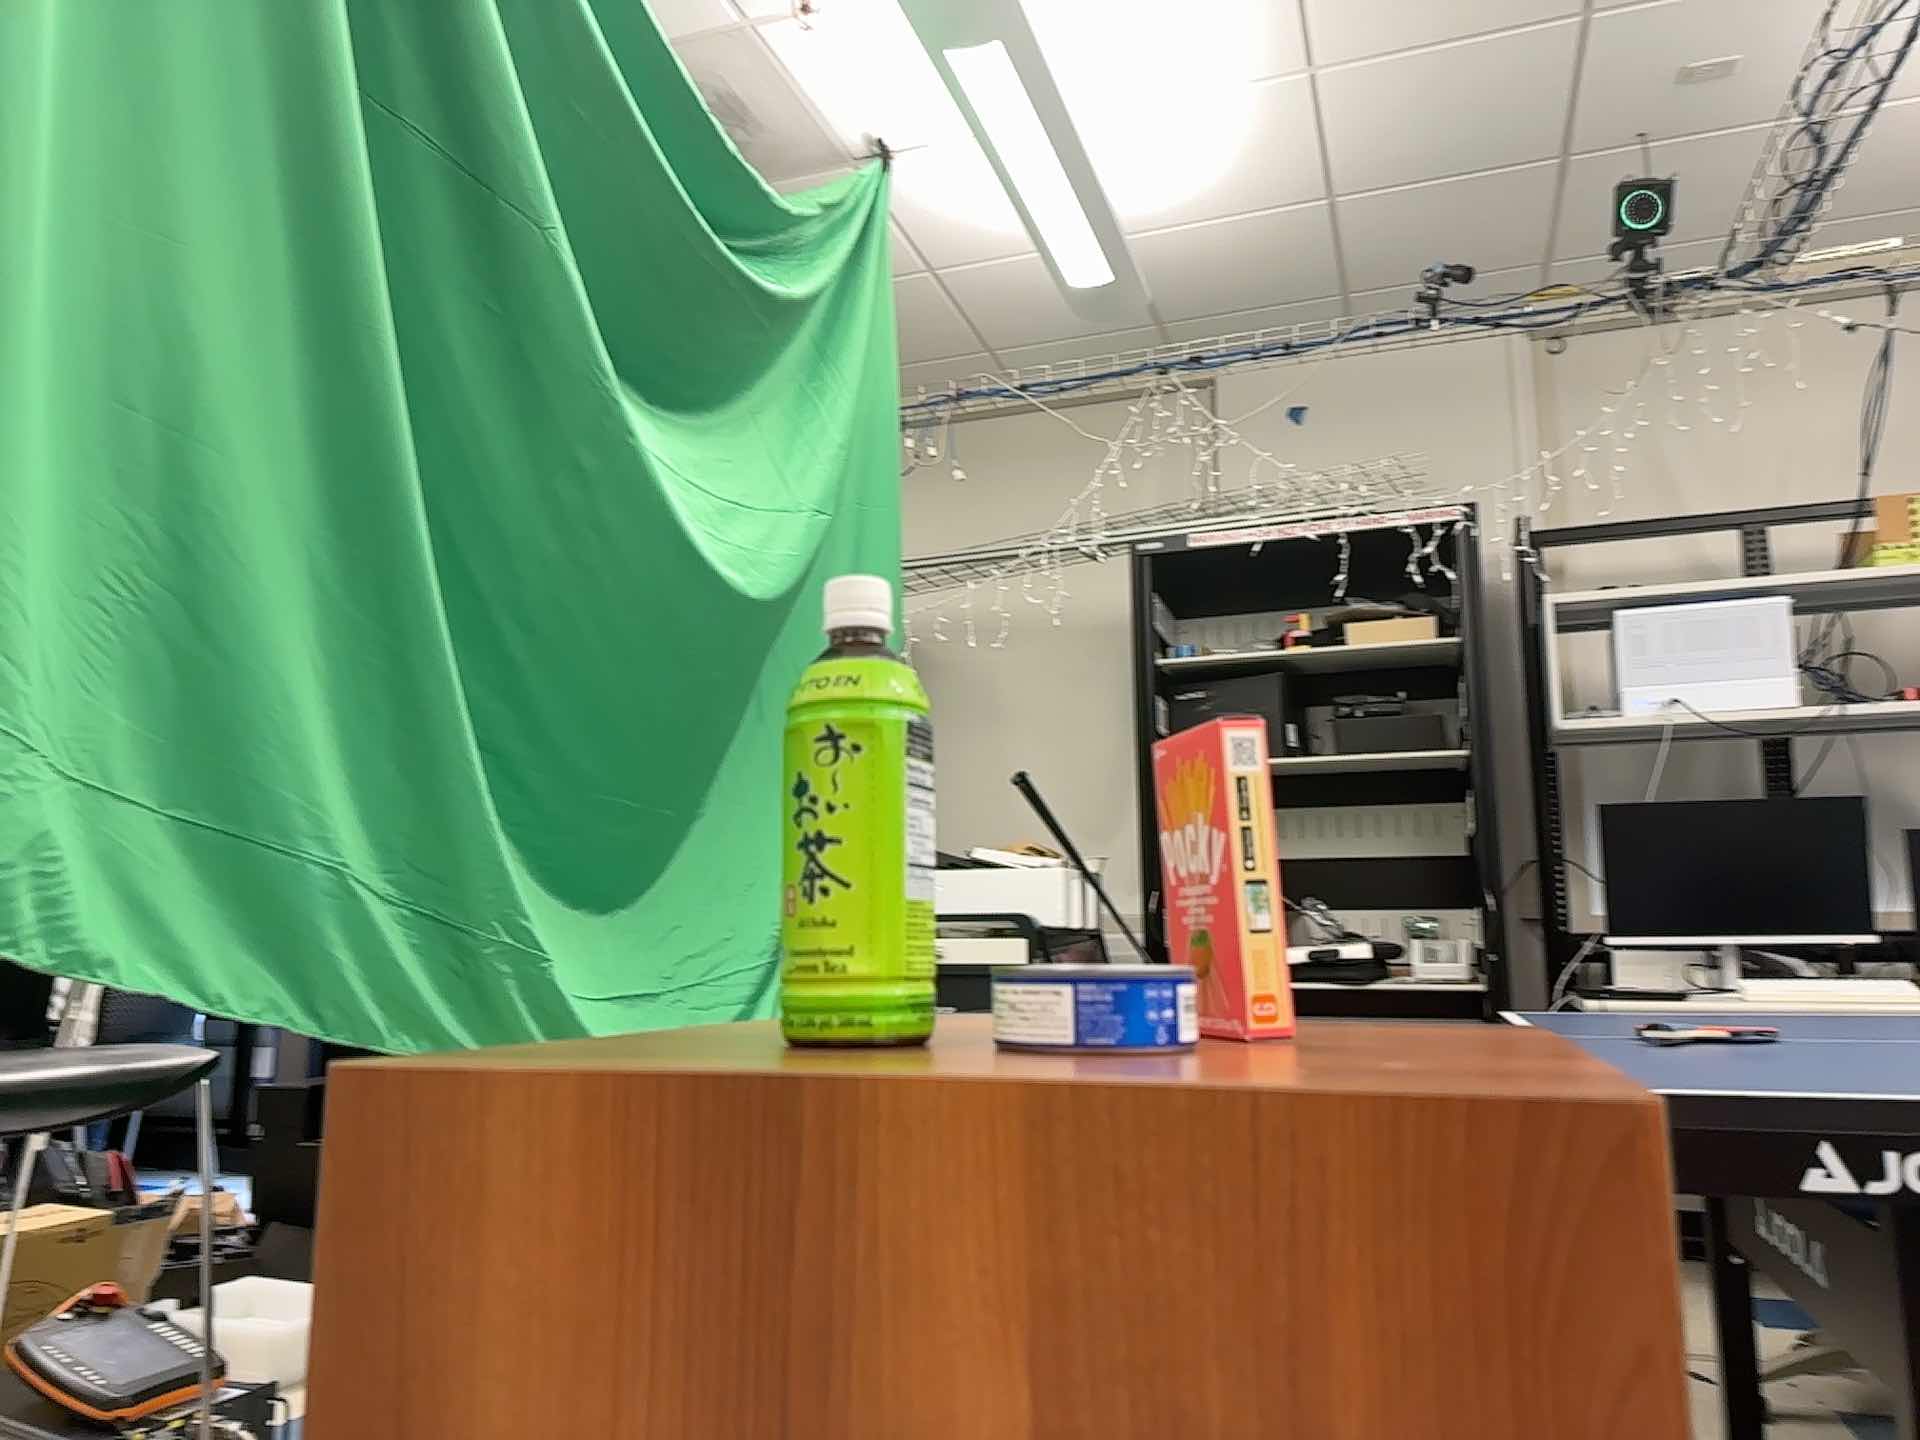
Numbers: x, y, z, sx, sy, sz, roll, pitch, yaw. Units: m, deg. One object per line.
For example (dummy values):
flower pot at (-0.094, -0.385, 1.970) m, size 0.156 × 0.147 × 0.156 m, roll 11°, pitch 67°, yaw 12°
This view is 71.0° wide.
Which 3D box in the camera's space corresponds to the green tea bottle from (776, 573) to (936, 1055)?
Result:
green tea bottle at (-0.046, 0.040, 0.602) m, size 0.073 × 0.212 × 0.073 m, roll -2°, pitch -11°, yaw 0°

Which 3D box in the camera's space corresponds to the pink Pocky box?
pink Pocky box at (0.126, 0.076, 0.666) m, size 0.029 × 0.155 × 0.084 m, roll -1°, pitch -9°, yaw -16°

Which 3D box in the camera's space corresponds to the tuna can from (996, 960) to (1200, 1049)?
tuna can at (0.057, 0.118, 0.562) m, size 0.083 × 0.034 × 0.083 m, roll -1°, pitch -11°, yaw 0°
